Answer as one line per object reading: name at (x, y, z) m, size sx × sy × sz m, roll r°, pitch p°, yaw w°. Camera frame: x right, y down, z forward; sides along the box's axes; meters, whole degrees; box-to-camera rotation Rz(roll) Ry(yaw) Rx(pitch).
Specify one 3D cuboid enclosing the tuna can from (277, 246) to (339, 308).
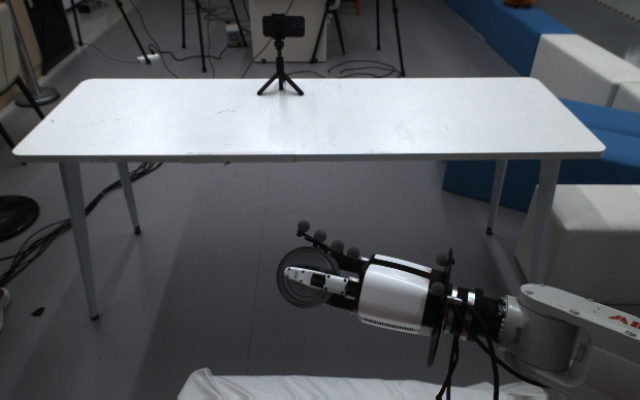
tuna can at (-0.013, 0.107, 0.677) m, size 0.085 × 0.085 × 0.034 m, roll 10°, pitch -4°, yaw 11°
